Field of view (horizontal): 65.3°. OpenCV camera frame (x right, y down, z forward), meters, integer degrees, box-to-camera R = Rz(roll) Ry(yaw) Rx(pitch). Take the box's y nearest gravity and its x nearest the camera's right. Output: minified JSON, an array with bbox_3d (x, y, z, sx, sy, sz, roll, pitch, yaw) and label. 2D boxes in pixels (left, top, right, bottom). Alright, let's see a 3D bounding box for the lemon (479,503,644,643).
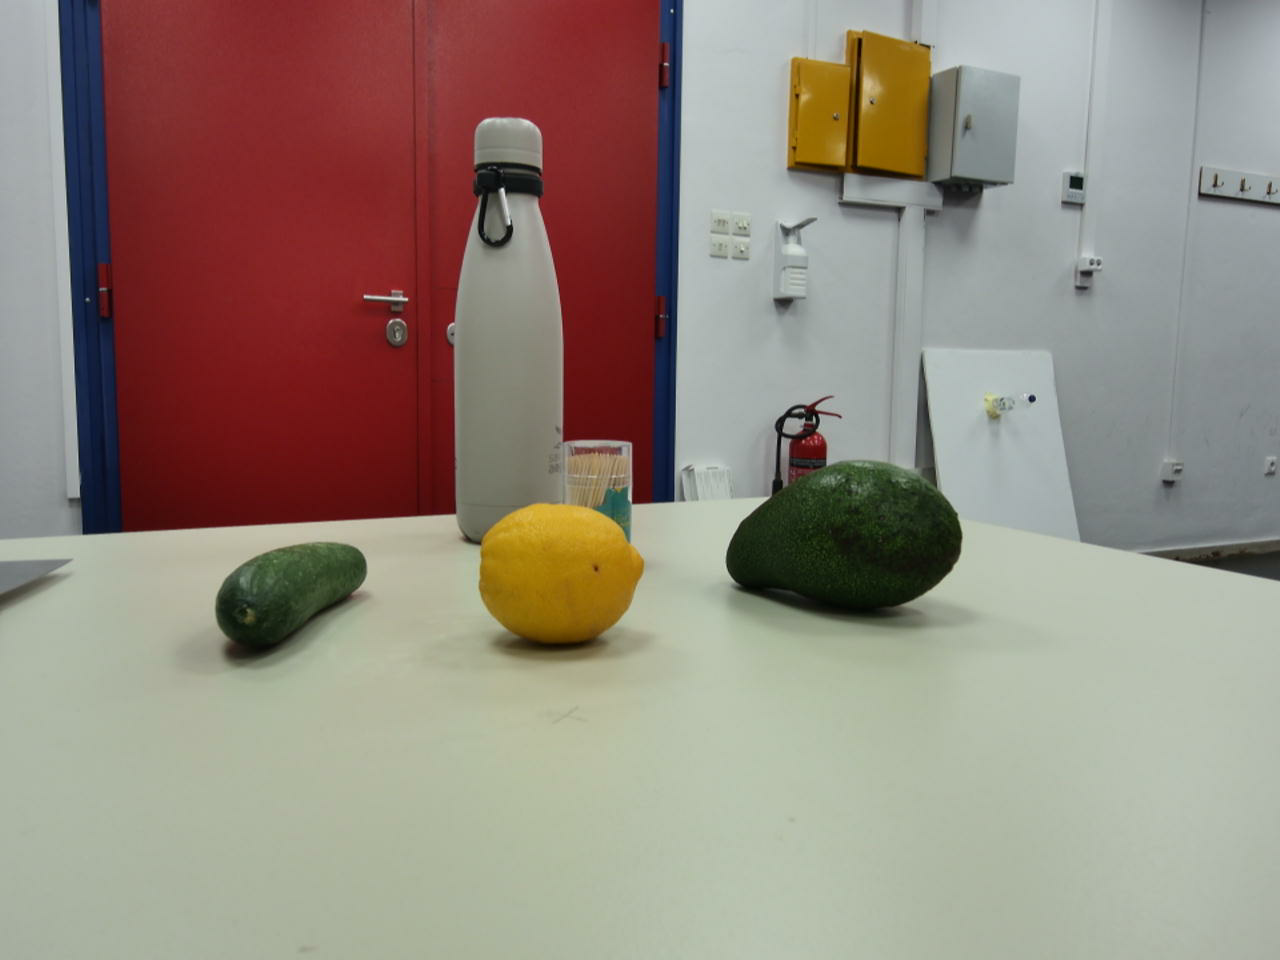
[{"bbox_3d":[-0.035,0.040,0.429,0.067,0.059,0.060,1,4,16],"label":"lemon"}]
